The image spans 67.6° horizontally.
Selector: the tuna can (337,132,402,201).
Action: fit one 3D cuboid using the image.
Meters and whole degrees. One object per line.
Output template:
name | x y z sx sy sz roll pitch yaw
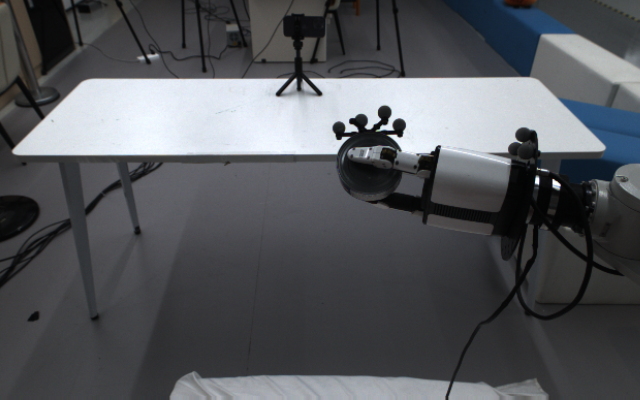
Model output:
tuna can | 0.065 -0.044 0.625 0.085 0.034 0.085 -2 69 6
